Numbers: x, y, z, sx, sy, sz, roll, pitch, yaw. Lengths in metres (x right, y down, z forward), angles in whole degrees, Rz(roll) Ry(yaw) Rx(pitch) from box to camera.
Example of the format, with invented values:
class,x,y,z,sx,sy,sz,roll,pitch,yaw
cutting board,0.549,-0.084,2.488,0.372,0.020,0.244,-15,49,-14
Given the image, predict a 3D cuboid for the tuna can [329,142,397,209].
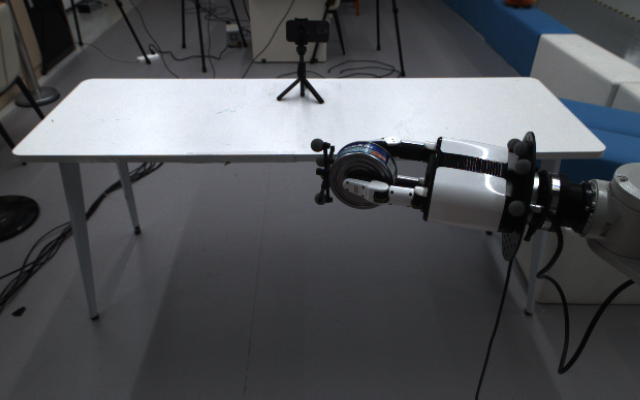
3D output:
class,x,y,z,sx,sy,sz,roll,pitch,yaw
tuna can,0.058,-0.030,0.625,0.085,0.085,0.034,9,32,10
